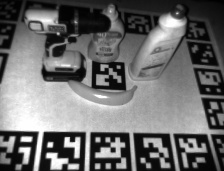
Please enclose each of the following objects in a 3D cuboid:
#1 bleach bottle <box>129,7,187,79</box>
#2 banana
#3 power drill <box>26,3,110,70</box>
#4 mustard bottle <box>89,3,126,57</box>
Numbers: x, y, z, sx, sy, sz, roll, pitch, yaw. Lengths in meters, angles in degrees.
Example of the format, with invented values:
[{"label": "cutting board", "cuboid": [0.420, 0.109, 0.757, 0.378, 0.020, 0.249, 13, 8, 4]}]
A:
[{"label": "bleach bottle", "cuboid": [0.122, -0.106, 0.580, 0.103, 0.251, 0.067, -4, 65, -12]}, {"label": "banana", "cuboid": [-0.016, 0.005, 0.604, 0.198, 0.039, 0.074, 6, 66, -7]}, {"label": "power drill", "cuboid": [-0.107, -0.118, 0.542, 0.186, 0.187, 0.057, 2, 56, -13]}, {"label": "mustard bottle", "cuboid": [-0.010, -0.156, 0.603, 0.097, 0.191, 0.058, 4, 62, -9]}]
